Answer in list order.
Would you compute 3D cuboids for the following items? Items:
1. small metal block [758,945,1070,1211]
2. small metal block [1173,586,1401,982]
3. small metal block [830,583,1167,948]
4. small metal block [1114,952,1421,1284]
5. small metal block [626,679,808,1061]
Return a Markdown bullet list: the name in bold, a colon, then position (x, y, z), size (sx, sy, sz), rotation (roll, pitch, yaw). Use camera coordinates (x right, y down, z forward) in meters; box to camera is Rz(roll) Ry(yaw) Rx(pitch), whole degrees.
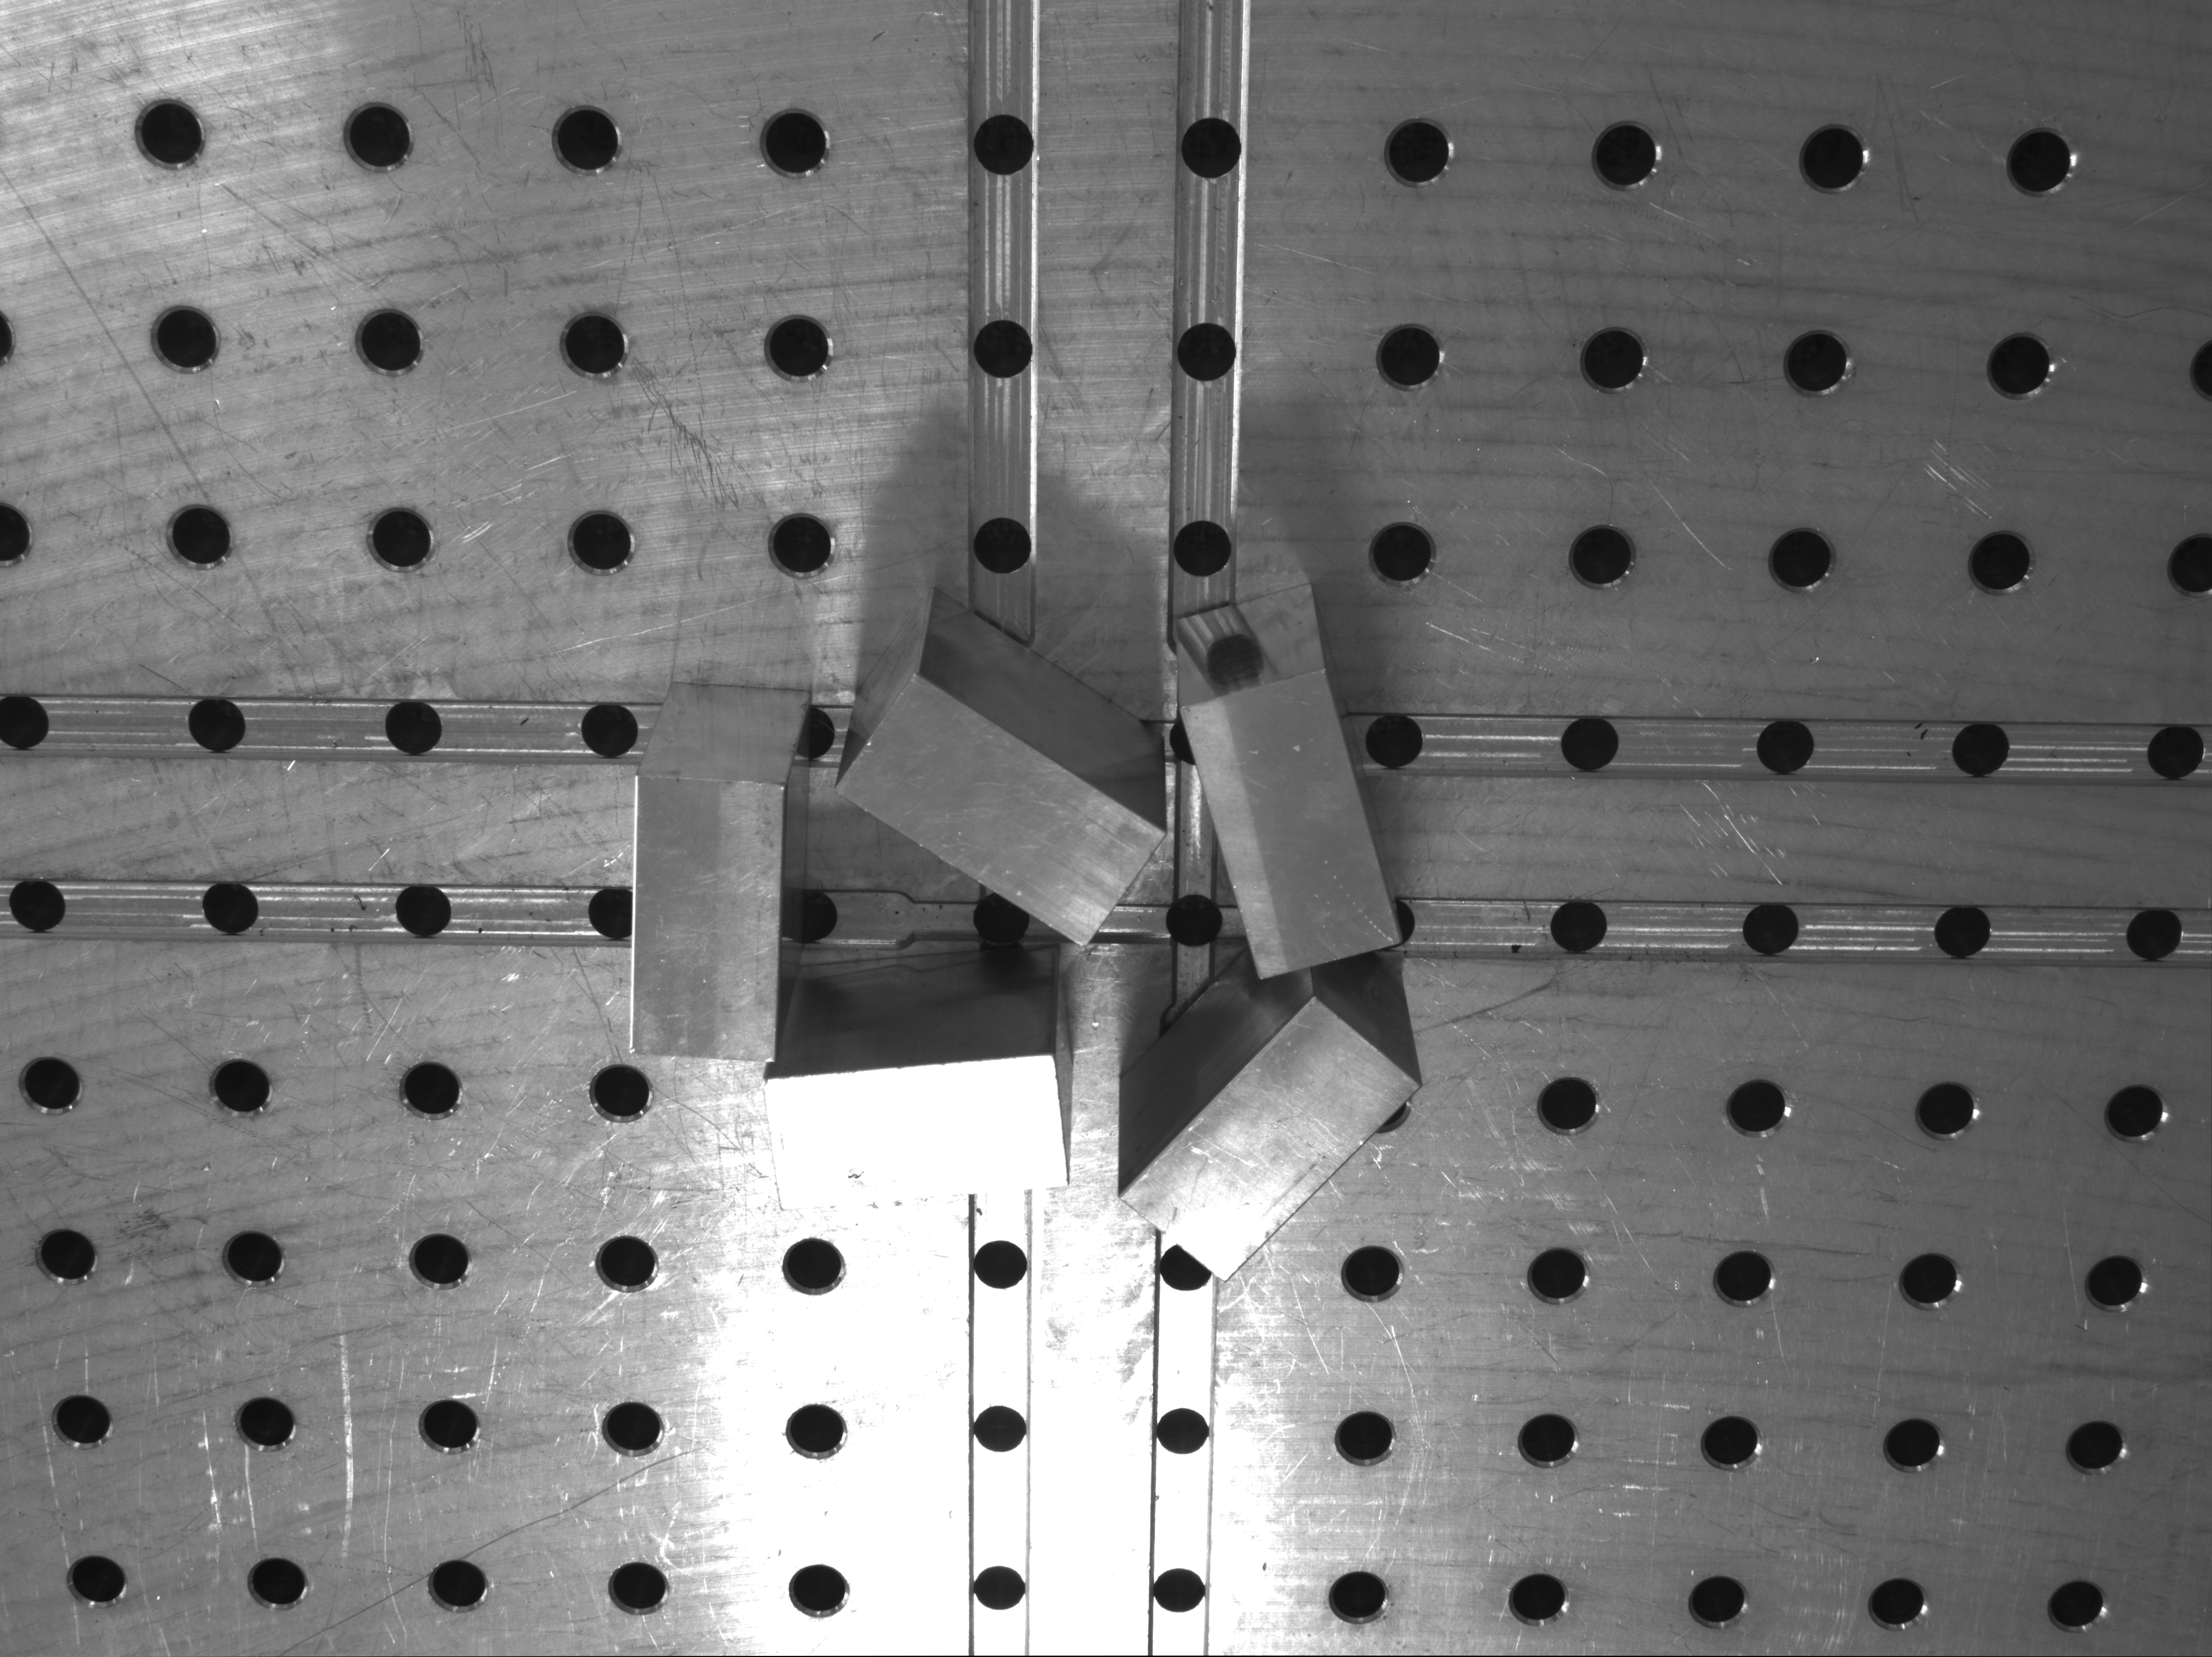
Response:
- **small metal block**: position (-0.033, 0.043, 0.649), size (0.050, 0.050, 0.025), rotation (-5, 110, 2)
- **small metal block**: position (0.030, -0.008, 0.630), size (0.025, 0.050, 0.050), rotation (-15, 108, 6)
- **small metal block**: position (-0.018, -0.012, 0.629), size (0.050, 0.050, 0.025), rotation (32, 108, -11)
- **small metal block**: position (0.028, 0.045, 0.649), size (0.025, 0.050, 0.050), rotation (41, 105, -12)
- **small metal block**: position (-0.067, 0.006, 0.636), size (0.025, 0.050, 0.050), rotation (3, 111, -1)
